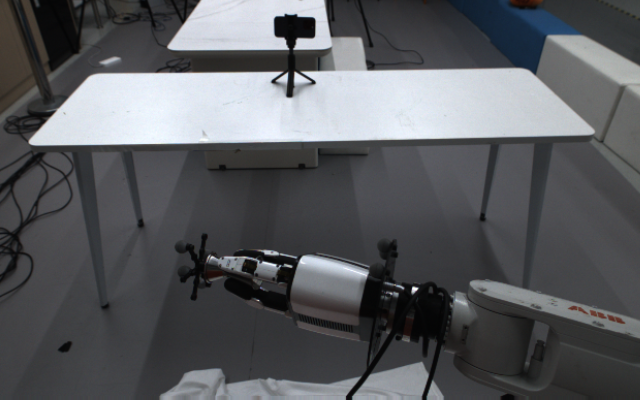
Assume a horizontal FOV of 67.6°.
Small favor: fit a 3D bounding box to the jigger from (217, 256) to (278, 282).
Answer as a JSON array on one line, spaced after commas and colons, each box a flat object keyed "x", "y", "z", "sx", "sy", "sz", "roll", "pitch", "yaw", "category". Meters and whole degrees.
[{"x": -0.103, "y": 0.087, "z": 0.633, "sx": 0.071, "sy": 0.043, "sz": 0.043, "roll": 2, "pitch": 34, "yaw": 14, "category": "jigger"}]
